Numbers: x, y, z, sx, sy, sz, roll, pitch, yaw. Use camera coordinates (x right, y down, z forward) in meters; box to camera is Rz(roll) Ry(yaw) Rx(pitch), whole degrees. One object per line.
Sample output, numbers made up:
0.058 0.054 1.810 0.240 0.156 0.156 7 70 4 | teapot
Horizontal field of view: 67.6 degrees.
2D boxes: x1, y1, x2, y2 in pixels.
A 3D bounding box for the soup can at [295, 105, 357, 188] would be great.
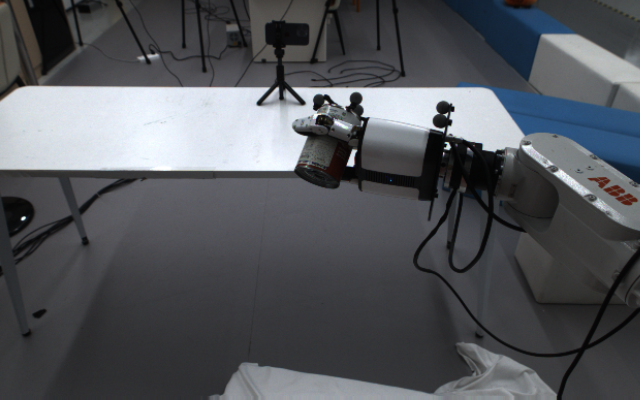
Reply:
0.012 -0.076 0.685 0.067 0.067 0.101 16 74 19 | soup can
